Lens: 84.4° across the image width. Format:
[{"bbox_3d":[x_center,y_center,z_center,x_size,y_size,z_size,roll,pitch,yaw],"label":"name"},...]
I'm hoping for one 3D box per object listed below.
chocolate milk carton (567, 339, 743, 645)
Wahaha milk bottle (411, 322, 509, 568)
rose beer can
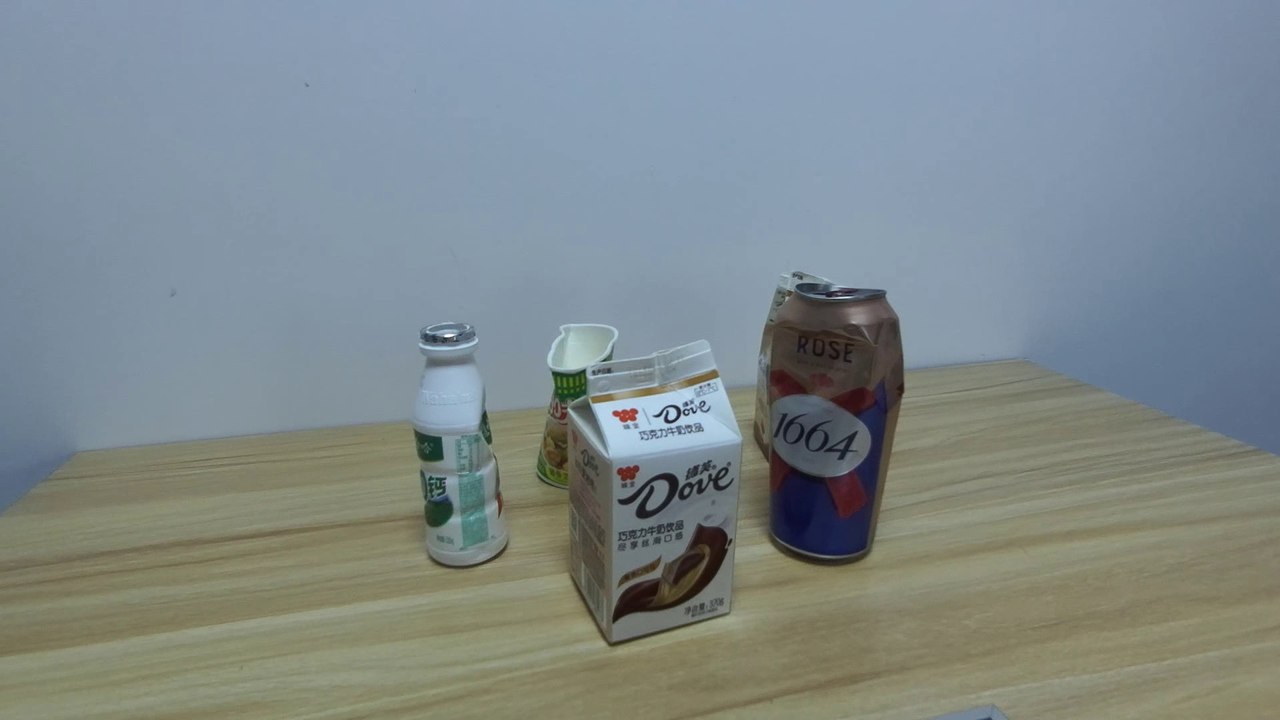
[{"bbox_3d":[0.006,0.064,0.384,0.075,0.148,0.074,-6,20,-20],"label":"chocolate milk carton"},{"bbox_3d":[-0.111,0.052,0.436,0.056,0.147,0.056,-1,15,0],"label":"Wahaha milk bottle"},{"bbox_3d":[0.118,0.038,0.436,0.065,0.167,0.075,-11,18,-37],"label":"rose beer can"}]
